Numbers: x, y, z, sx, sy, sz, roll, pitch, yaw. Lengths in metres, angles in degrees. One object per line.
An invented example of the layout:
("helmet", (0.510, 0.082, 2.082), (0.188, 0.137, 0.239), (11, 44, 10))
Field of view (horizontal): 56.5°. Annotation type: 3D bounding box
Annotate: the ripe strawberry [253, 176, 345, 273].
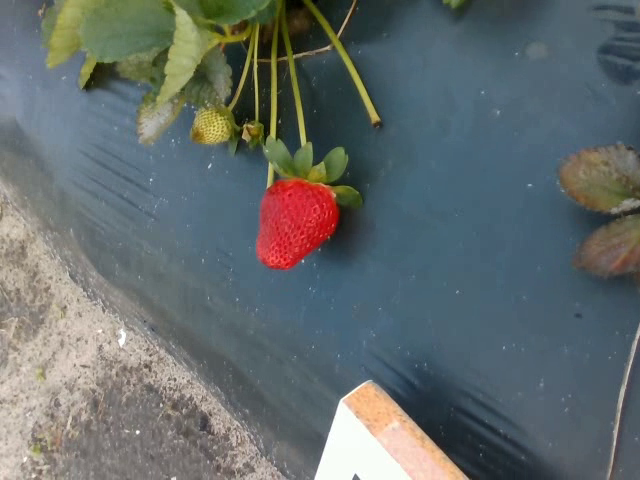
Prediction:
("ripe strawberry", (-0.014, -0.006, 0.290), (0.042, 0.054, 0.046), (42, -23, -19))
